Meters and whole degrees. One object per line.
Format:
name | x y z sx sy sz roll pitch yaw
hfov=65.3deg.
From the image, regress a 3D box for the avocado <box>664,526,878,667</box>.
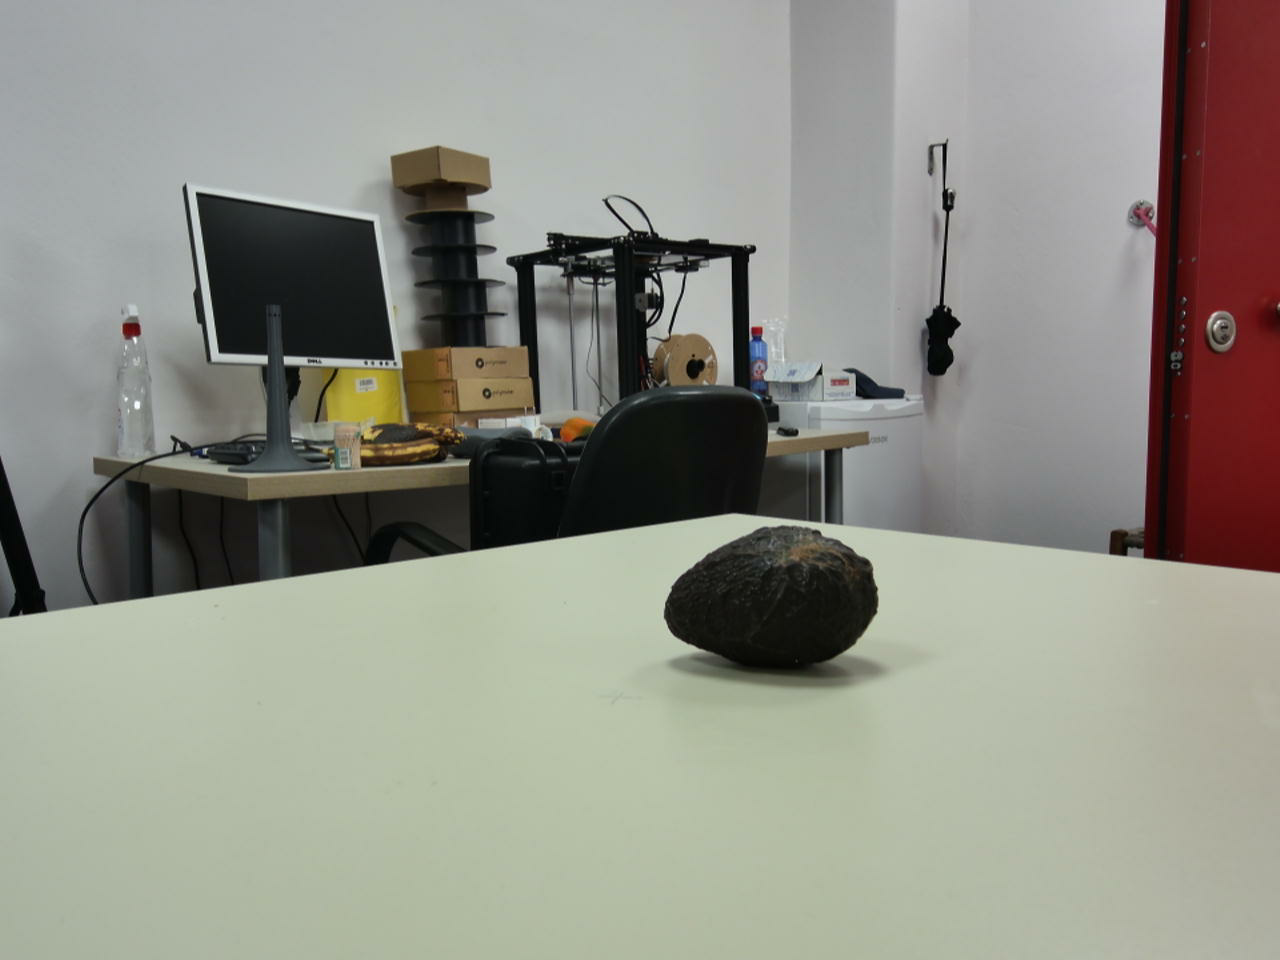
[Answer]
avocado | 0.059 0.051 0.446 0.092 0.062 0.062 2 4 26
